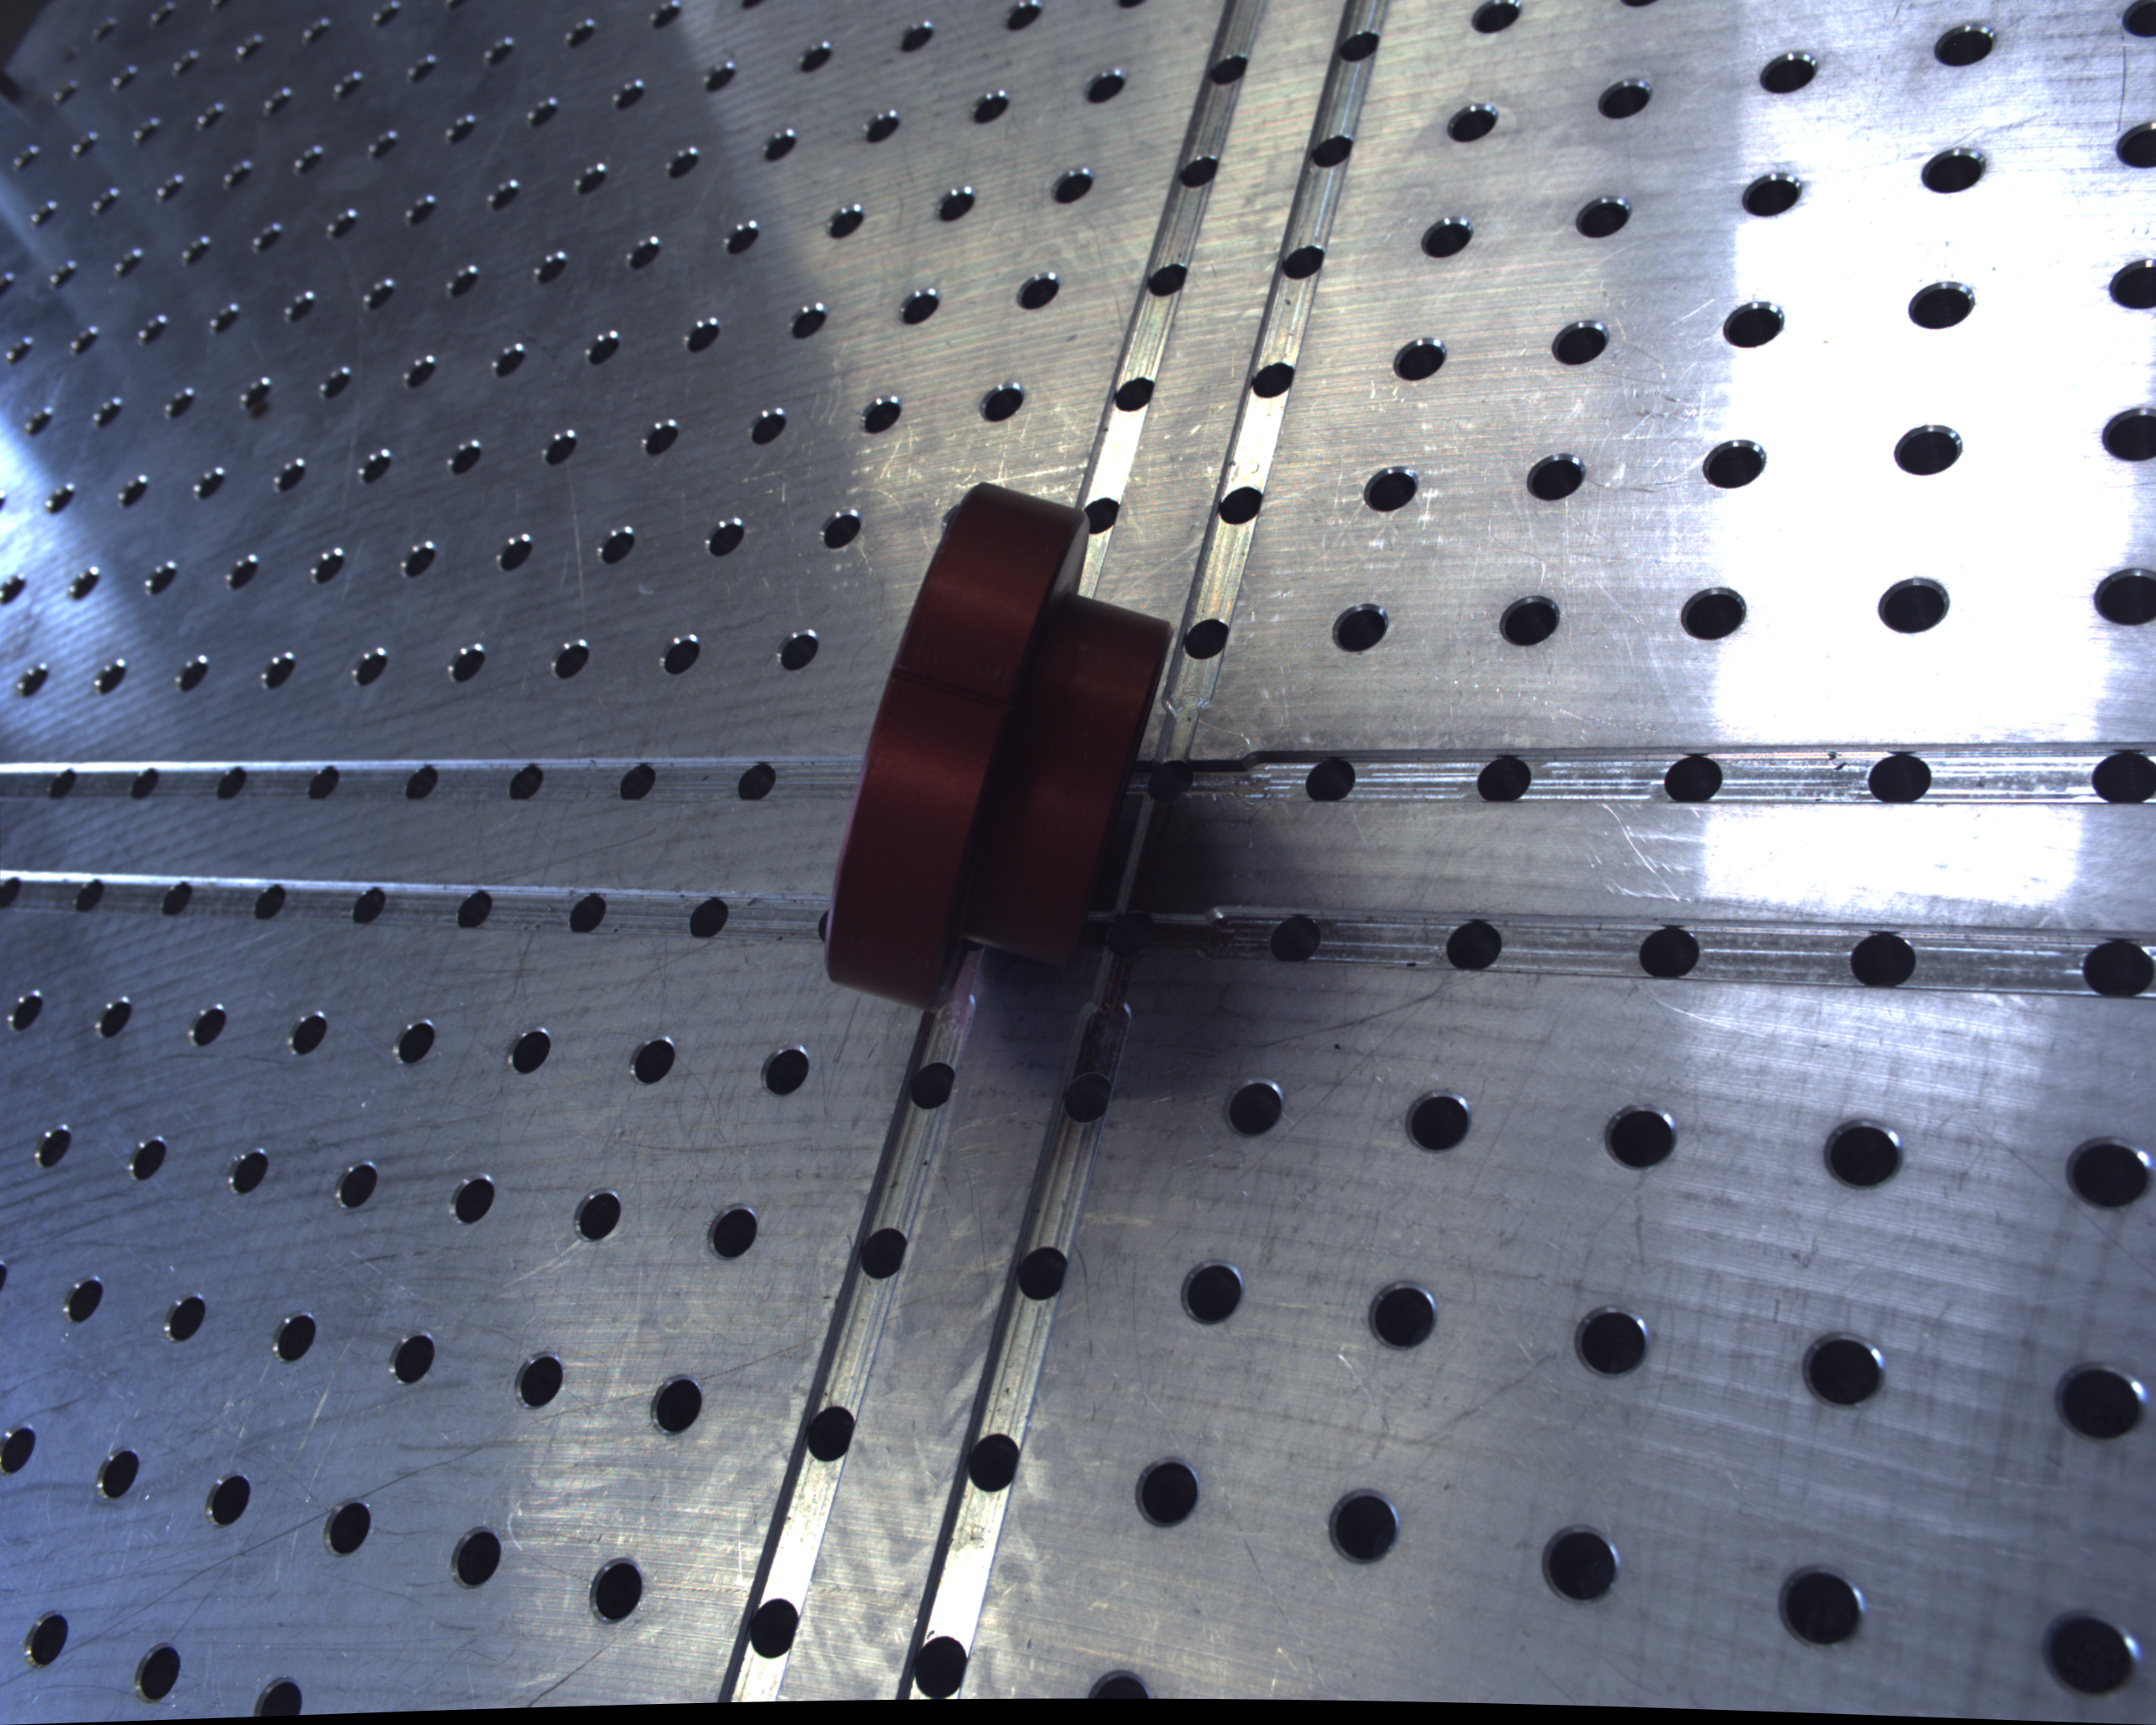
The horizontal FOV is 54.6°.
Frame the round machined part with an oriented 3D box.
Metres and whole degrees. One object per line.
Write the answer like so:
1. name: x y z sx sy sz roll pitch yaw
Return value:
1. round machined part: -0.012 -0.018 0.392 0.042 0.098 0.098 17 67 2
